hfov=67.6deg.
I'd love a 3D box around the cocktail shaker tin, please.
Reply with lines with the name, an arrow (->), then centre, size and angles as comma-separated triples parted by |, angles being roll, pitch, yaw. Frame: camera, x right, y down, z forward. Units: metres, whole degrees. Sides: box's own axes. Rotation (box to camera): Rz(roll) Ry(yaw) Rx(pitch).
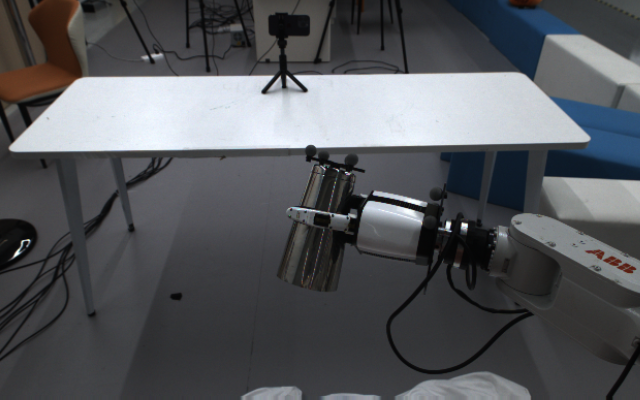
cocktail shaker tin -> 0.000, 0.038, 0.709 | 0.093, 0.170, 0.093 | 14, 2, 0
